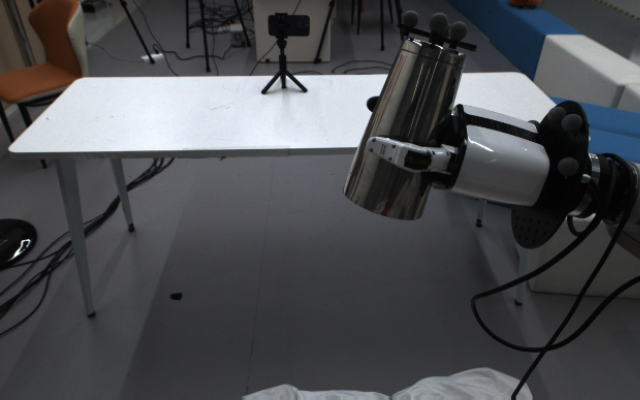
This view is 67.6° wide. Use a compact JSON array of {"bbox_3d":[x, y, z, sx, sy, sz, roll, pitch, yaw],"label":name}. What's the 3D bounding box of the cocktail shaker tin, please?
[{"bbox_3d":[0.093,-0.076,0.510,0.093,0.170,0.093,15,20,-5],"label":"cocktail shaker tin"}]
